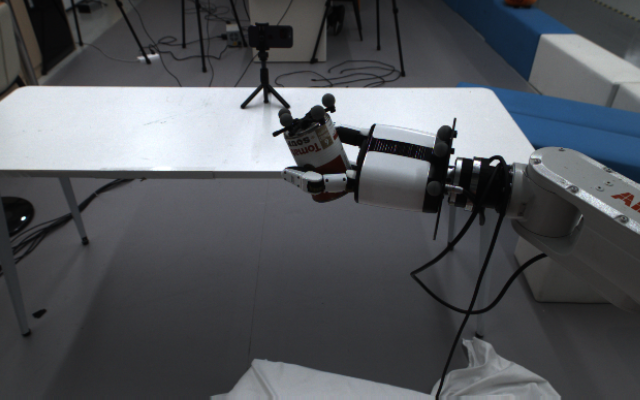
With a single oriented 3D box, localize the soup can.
[{"bbox_3d":[0.003,-0.057,0.651,0.067,0.101,0.067,-22,24,10],"label":"soup can"}]
